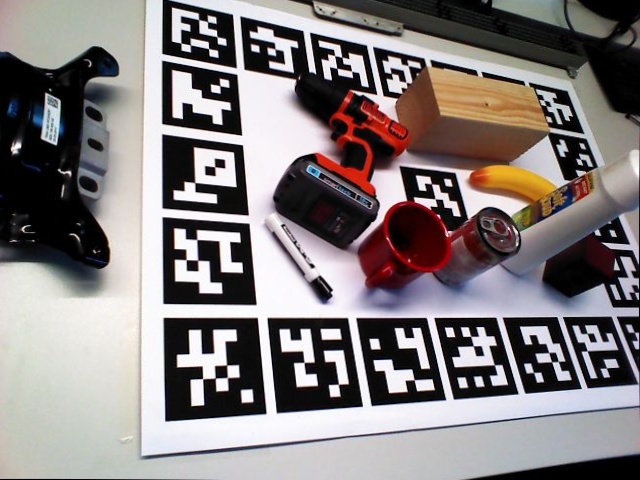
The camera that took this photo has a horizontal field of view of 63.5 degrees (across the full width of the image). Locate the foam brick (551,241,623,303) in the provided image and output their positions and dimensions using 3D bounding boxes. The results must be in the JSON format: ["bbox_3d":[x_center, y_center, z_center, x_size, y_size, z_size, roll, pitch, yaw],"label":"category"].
[{"bbox_3d":[0.381,0.045,0.741,0.053,0.078,0.051,32,54,-4],"label":"foam brick"}]

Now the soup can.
[{"bbox_3d":[0.200,0.012,0.651,0.068,0.103,0.067,13,56,-20],"label":"soup can"}]

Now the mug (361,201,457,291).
[{"bbox_3d":[0.095,0.017,0.619,0.093,0.082,0.116,42,58,-2],"label":"mug"}]

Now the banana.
[{"bbox_3d":[0.316,-0.085,0.797,0.197,0.039,0.074,19,72,-17],"label":"banana"}]

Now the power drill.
[{"bbox_3d":[0.026,-0.110,0.675,0.184,0.058,0.185,31,55,-11],"label":"power drill"}]

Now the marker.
[{"bbox_3d":[-0.023,0.028,0.601,0.019,0.020,0.121,-30,80,-31],"label":"marker"}]

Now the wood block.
[{"bbox_3d":[0.239,-0.179,0.784,0.206,0.091,0.089,2,65,-24],"label":"wood block"}]

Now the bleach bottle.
[{"bbox_3d":[0.336,-0.039,0.656,0.068,0.252,0.102,29,55,-8],"label":"bleach bottle"}]
